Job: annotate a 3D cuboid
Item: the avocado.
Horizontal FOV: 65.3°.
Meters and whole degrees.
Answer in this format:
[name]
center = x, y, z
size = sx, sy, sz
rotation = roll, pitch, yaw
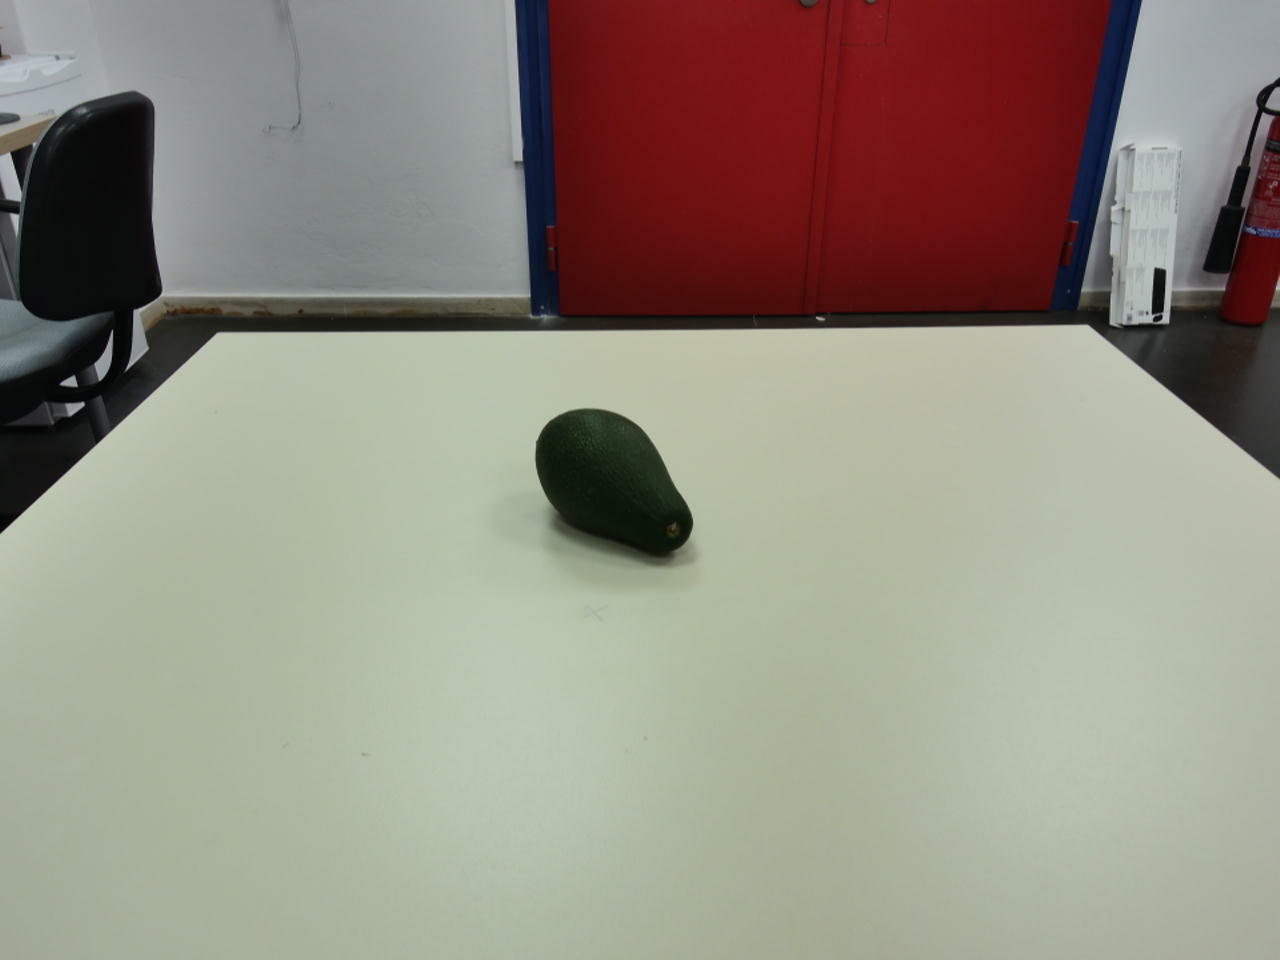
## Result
[avocado]
center = -0.019, -0.001, 0.586
size = 0.072, 0.071, 0.109
rotation = -12, 28, -21
